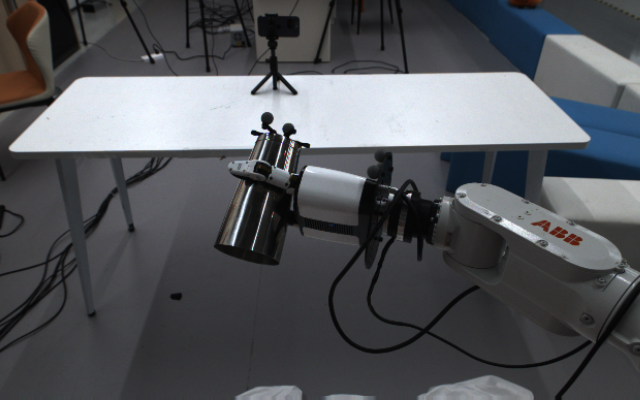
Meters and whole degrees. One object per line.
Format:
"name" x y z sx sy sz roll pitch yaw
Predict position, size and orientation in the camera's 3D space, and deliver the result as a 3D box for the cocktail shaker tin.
"cocktail shaker tin" -0.079 -0.003 0.676 0.093 0.093 0.170 10 71 12
